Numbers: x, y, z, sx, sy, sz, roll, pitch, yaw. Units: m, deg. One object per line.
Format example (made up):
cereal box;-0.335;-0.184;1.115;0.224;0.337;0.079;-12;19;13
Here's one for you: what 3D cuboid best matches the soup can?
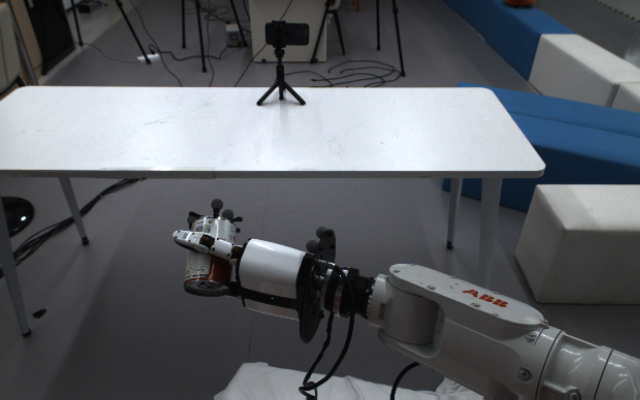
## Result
soup can;-0.158;0.083;0.706;0.067;0.067;0.101;0;61;-3
